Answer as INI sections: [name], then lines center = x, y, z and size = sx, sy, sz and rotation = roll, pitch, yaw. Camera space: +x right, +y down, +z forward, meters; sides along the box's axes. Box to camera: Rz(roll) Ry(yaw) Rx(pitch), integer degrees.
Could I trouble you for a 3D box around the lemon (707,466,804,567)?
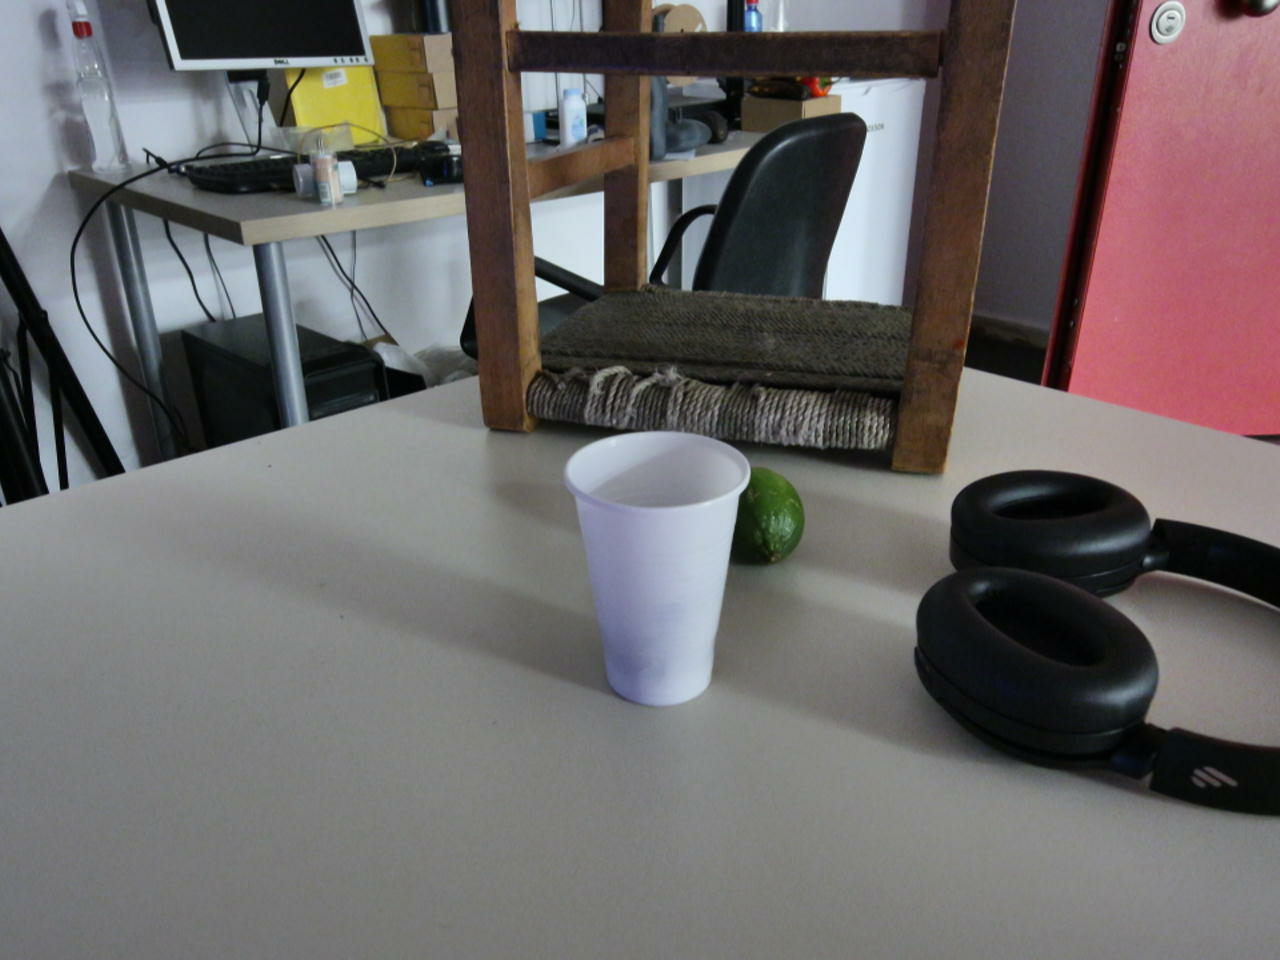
[lemon]
center = 0.064, 0.019, 0.545
size = 0.057, 0.051, 0.054
rotation = 22, 32, 40
